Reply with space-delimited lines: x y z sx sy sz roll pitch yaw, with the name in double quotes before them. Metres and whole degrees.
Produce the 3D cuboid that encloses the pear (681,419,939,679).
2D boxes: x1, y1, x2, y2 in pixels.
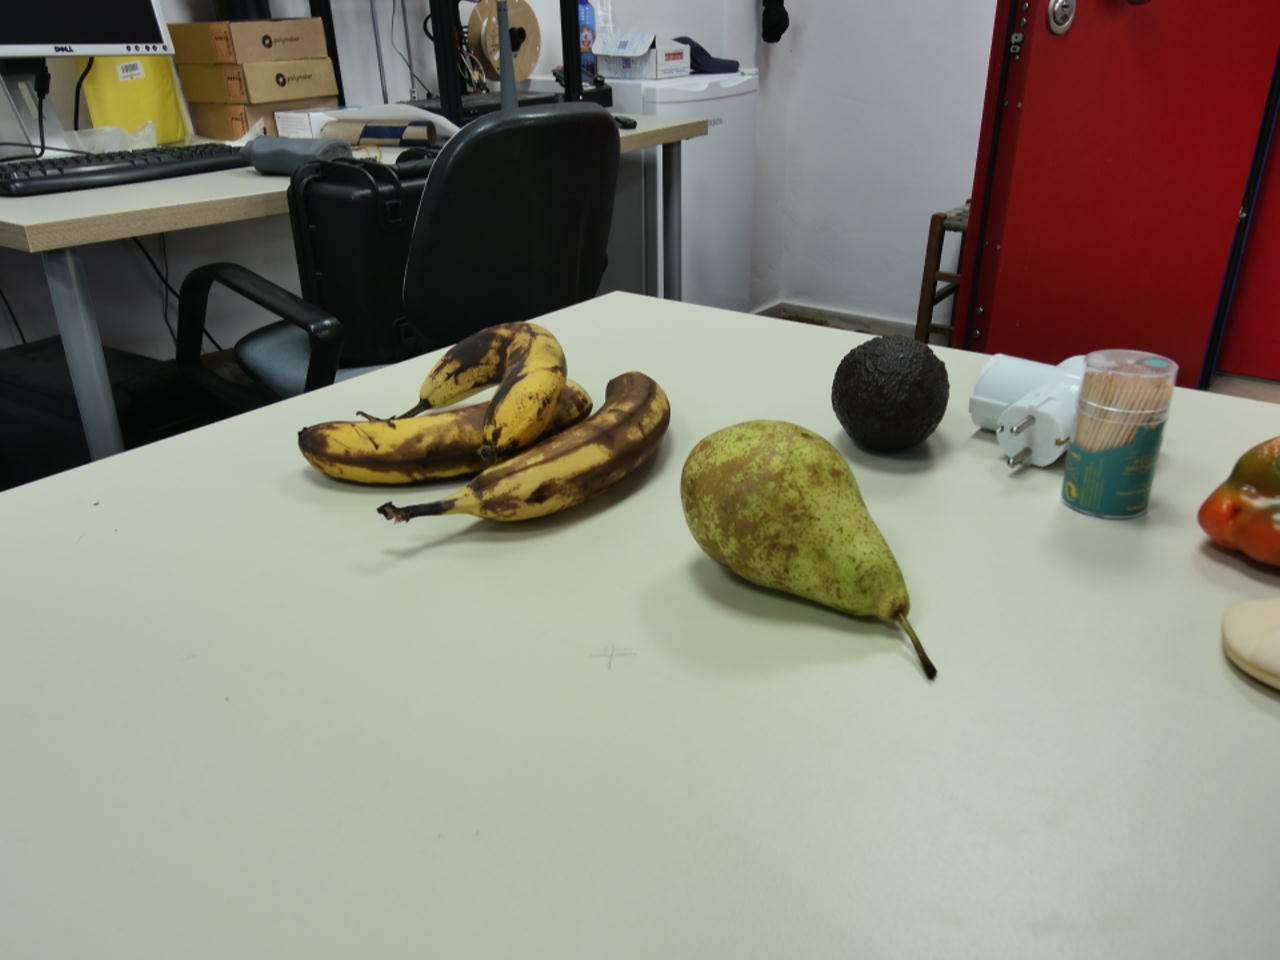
"pear" 0.076 0.016 0.426 0.128 0.075 0.071 14 26 28
